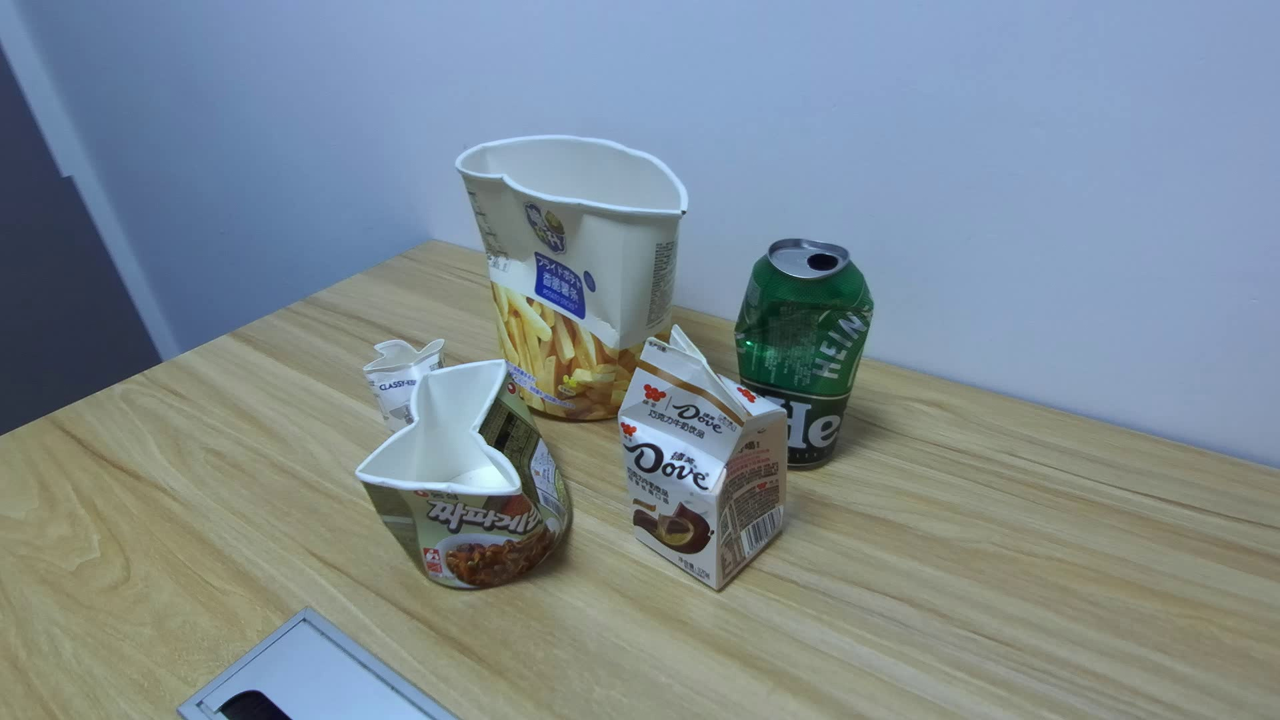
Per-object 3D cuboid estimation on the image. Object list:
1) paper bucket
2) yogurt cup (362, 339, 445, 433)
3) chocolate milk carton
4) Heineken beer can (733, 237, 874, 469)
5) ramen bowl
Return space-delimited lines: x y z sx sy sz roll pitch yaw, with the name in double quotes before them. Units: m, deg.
"paper bucket" -0.050 -0.067 0.583 0.217 0.199 0.147 6 34 16
"yogurt cup" -0.196 0.022 0.608 0.055 0.072 0.055 -1 34 -3
"chocolate milk carton" 0.040 0.052 0.427 0.076 0.156 0.074 26 45 38
"Heineken beer can" 0.109 -0.002 0.497 0.066 0.164 0.077 -19 38 -21
"ramen bowl" -0.106 0.073 0.469 0.111 0.093 0.128 1 34 7
